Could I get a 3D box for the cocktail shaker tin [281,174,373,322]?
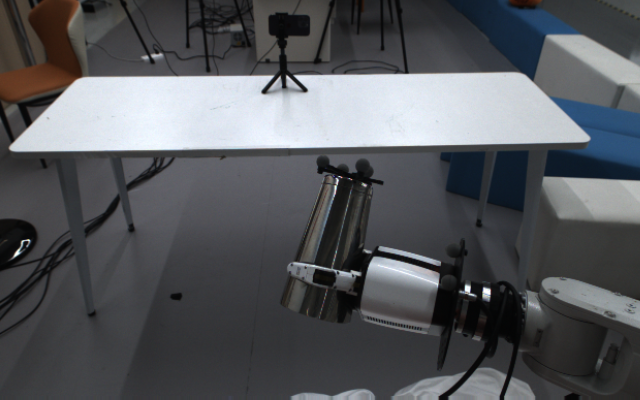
[{"bbox_3d":[0.016,0.060,0.615,0.093,0.170,0.093,15,-4,1],"label":"cocktail shaker tin"}]
